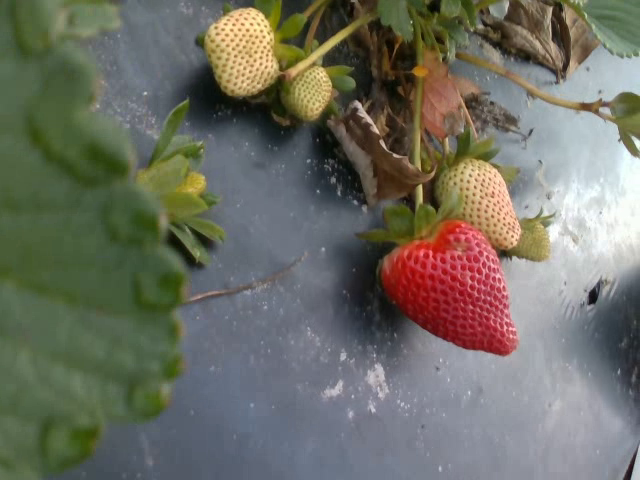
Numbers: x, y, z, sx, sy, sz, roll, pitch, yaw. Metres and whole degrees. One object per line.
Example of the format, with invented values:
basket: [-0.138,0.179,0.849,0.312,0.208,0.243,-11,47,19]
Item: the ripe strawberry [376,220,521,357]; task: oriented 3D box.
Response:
ripe strawberry: [0.051,0.018,0.208,0.050,0.059,0.034,-32,-13,-39]
